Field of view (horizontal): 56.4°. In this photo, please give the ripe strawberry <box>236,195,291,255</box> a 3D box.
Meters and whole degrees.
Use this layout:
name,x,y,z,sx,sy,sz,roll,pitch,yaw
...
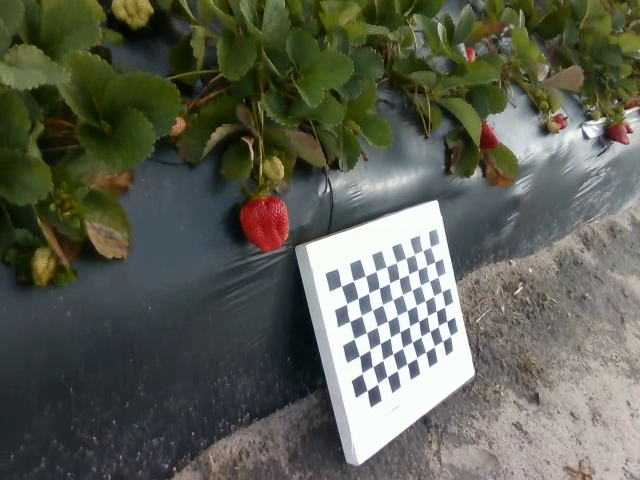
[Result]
name,x,y,z,sx,sy,sz,roll,pitch,yaw
ripe strawberry,-0.063,-0.021,0.709,0.067,0.074,0.039,-13,2,-42
